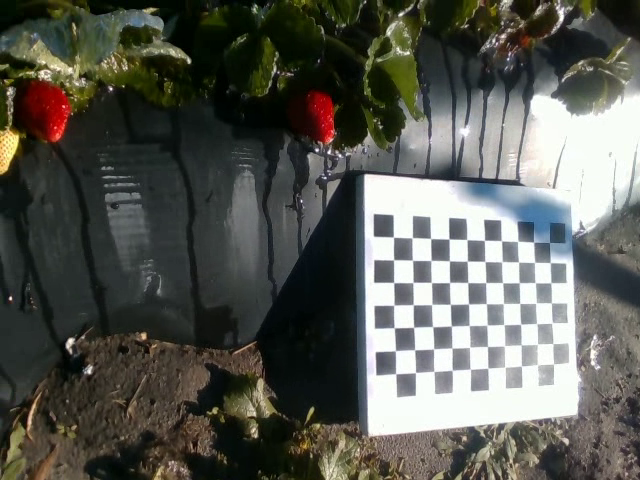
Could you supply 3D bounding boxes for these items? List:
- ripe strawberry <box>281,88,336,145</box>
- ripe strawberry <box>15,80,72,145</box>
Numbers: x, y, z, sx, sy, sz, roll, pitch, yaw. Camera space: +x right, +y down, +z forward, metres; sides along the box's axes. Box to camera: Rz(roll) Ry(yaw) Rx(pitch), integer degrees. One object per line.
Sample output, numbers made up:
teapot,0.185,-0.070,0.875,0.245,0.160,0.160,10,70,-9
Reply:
ripe strawberry,-0.002,-0.096,0.500,0.041,0.053,0.047,-6,-39,-24
ripe strawberry,-0.180,-0.080,0.420,0.037,0.040,0.051,-14,45,-23
